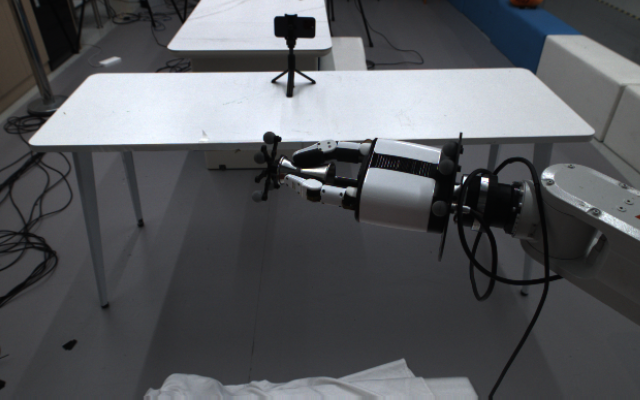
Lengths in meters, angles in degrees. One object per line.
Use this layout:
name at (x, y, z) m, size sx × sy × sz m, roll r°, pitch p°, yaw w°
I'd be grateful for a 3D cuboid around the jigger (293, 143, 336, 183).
jigger at (-0.012, -0.036, 0.638) m, size 0.071 × 0.043 × 0.043 m, roll 11°, pitch 36°, yaw 15°
